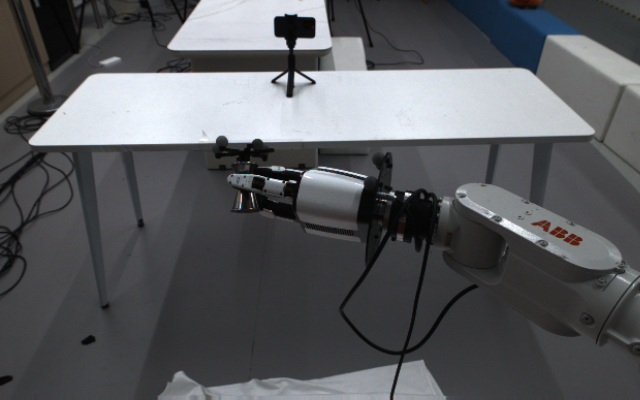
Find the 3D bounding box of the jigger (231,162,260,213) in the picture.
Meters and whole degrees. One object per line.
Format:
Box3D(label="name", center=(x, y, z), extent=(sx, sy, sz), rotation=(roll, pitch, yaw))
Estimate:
Box3D(label="jigger", center=(-0.107, -0.018, 0.689), extent=(0.043, 0.071, 0.043), rotation=(-2, -7, 0))
